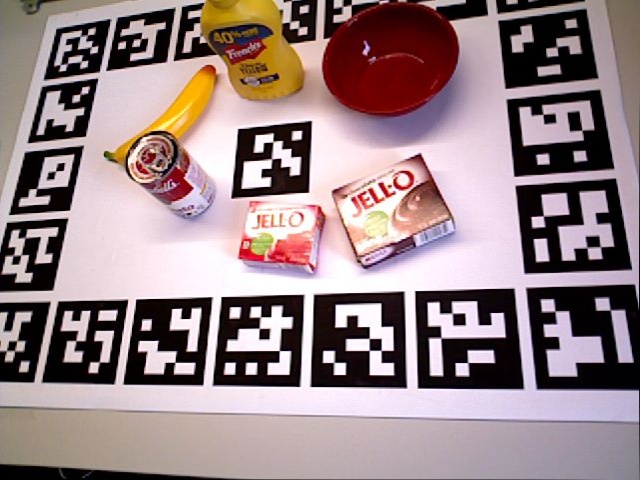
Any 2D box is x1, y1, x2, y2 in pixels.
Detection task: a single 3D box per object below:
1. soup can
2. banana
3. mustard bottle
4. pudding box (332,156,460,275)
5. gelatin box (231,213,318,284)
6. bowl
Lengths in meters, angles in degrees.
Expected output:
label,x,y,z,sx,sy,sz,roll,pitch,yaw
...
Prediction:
label,x,y,z,sx,sy,sz,roll,pitch,yaw
soup can,-0.186,-0.078,0.643,0.068,0.103,0.067,-5,65,10
banana,-0.213,-0.164,0.729,0.196,0.039,0.074,-46,55,-6
mustard bottle,-0.087,-0.243,0.627,0.096,0.193,0.058,-2,64,13
pudding box,0.081,-0.026,0.595,0.114,0.039,0.089,-25,71,5
gelatin box,-0.052,0.008,0.622,0.090,0.030,0.073,4,74,17
bowl,0.096,-0.203,0.654,0.162,0.055,0.160,-6,67,14
